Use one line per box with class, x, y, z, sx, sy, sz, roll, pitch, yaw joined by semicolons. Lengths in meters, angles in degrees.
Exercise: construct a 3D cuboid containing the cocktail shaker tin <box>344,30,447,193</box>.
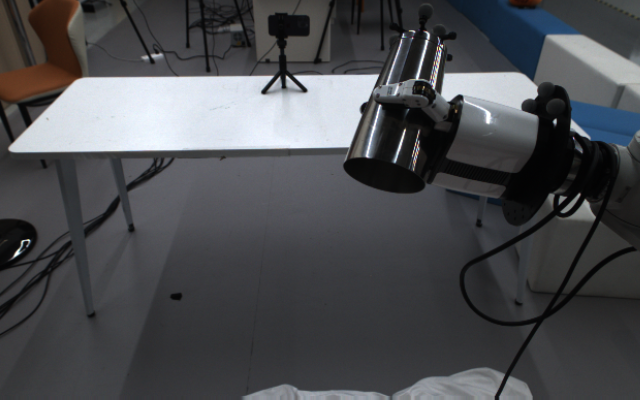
cocktail shaker tin;0.096;-0.102;0.553;0.093;0.093;0.170;13;74;15
